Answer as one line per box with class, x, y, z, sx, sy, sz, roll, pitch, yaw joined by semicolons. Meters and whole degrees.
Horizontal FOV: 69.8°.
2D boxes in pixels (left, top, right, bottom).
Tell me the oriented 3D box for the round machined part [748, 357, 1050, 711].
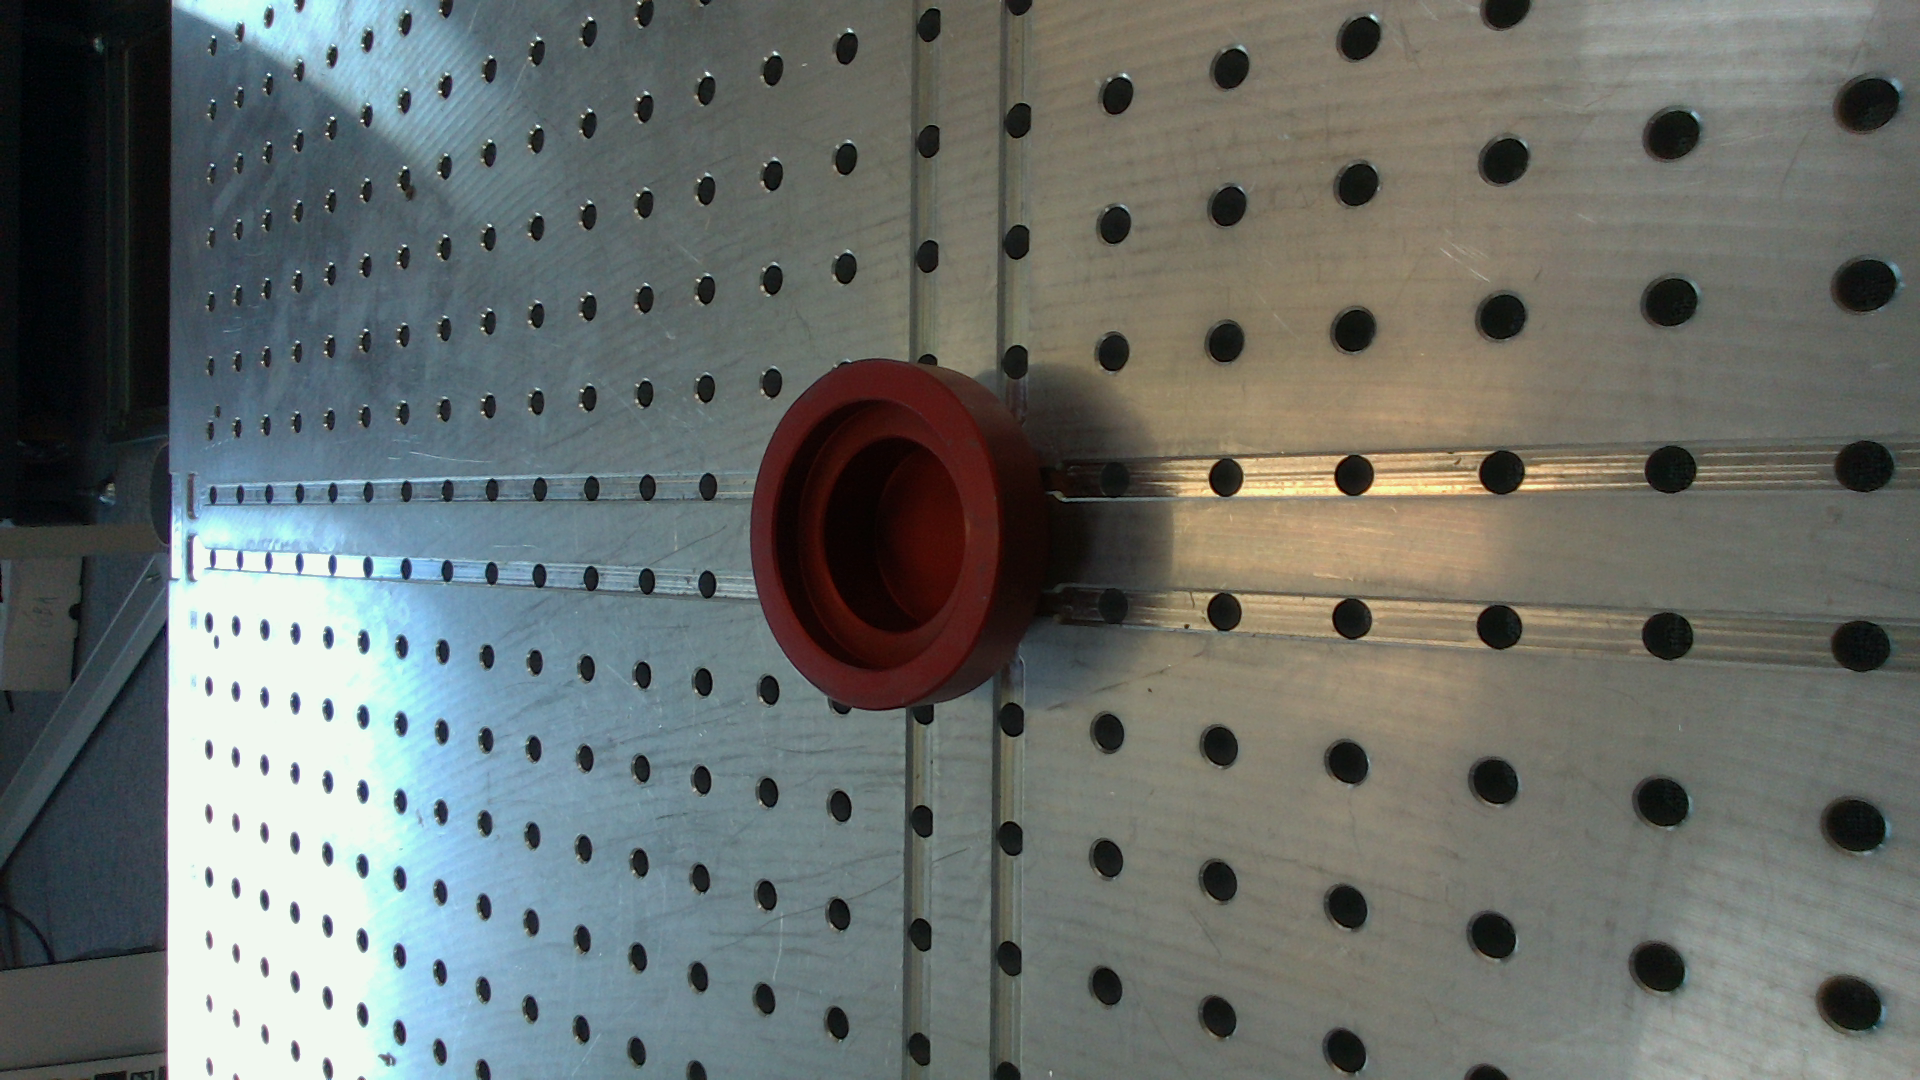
round machined part;-0.013;-0.002;0.397;0.098;0.042;0.098;0;90;40
